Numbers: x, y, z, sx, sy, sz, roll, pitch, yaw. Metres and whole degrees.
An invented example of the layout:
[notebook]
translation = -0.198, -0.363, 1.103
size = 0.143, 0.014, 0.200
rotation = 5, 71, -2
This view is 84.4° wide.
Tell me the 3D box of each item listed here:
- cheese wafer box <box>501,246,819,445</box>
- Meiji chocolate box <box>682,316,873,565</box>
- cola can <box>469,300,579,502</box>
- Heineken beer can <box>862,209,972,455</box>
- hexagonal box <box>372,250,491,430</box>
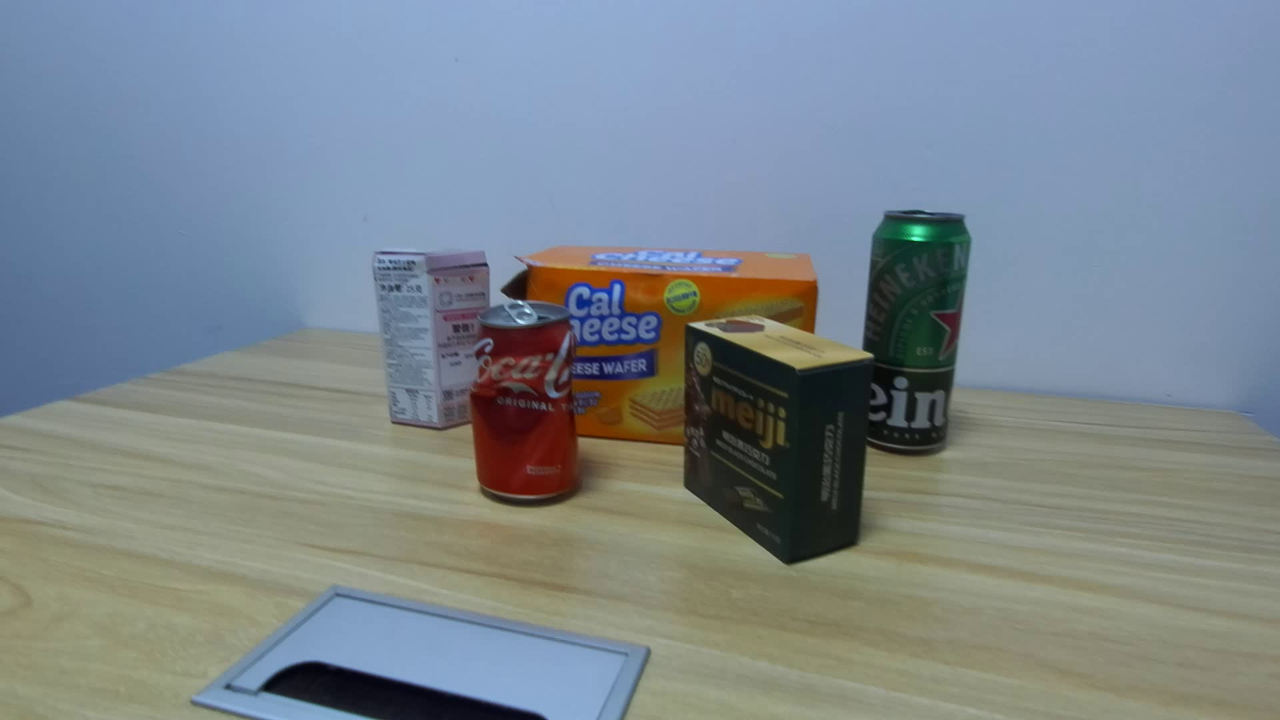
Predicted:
[cheese wafer box]
translation = 0.025, -0.020, 0.570
size = 0.227, 0.137, 0.150
rotation = 4, 16, 11
[Meiji chocolate box]
translation = 0.075, 0.039, 0.408
size = 0.056, 0.109, 0.109
rotation = -9, 19, -26
[cola can]
translation = -0.070, 0.024, 0.440
size = 0.066, 0.117, 0.066
rotation = 2, 16, 3
[Heineken beer can]
translation = 0.196, -0.020, 0.513
size = 0.067, 0.169, 0.067
rotation = 1, 13, 0
[hexagonal box]
translation = -0.160, -0.021, 0.565
size = 0.092, 0.135, 0.084
rotation = -11, 18, -36
